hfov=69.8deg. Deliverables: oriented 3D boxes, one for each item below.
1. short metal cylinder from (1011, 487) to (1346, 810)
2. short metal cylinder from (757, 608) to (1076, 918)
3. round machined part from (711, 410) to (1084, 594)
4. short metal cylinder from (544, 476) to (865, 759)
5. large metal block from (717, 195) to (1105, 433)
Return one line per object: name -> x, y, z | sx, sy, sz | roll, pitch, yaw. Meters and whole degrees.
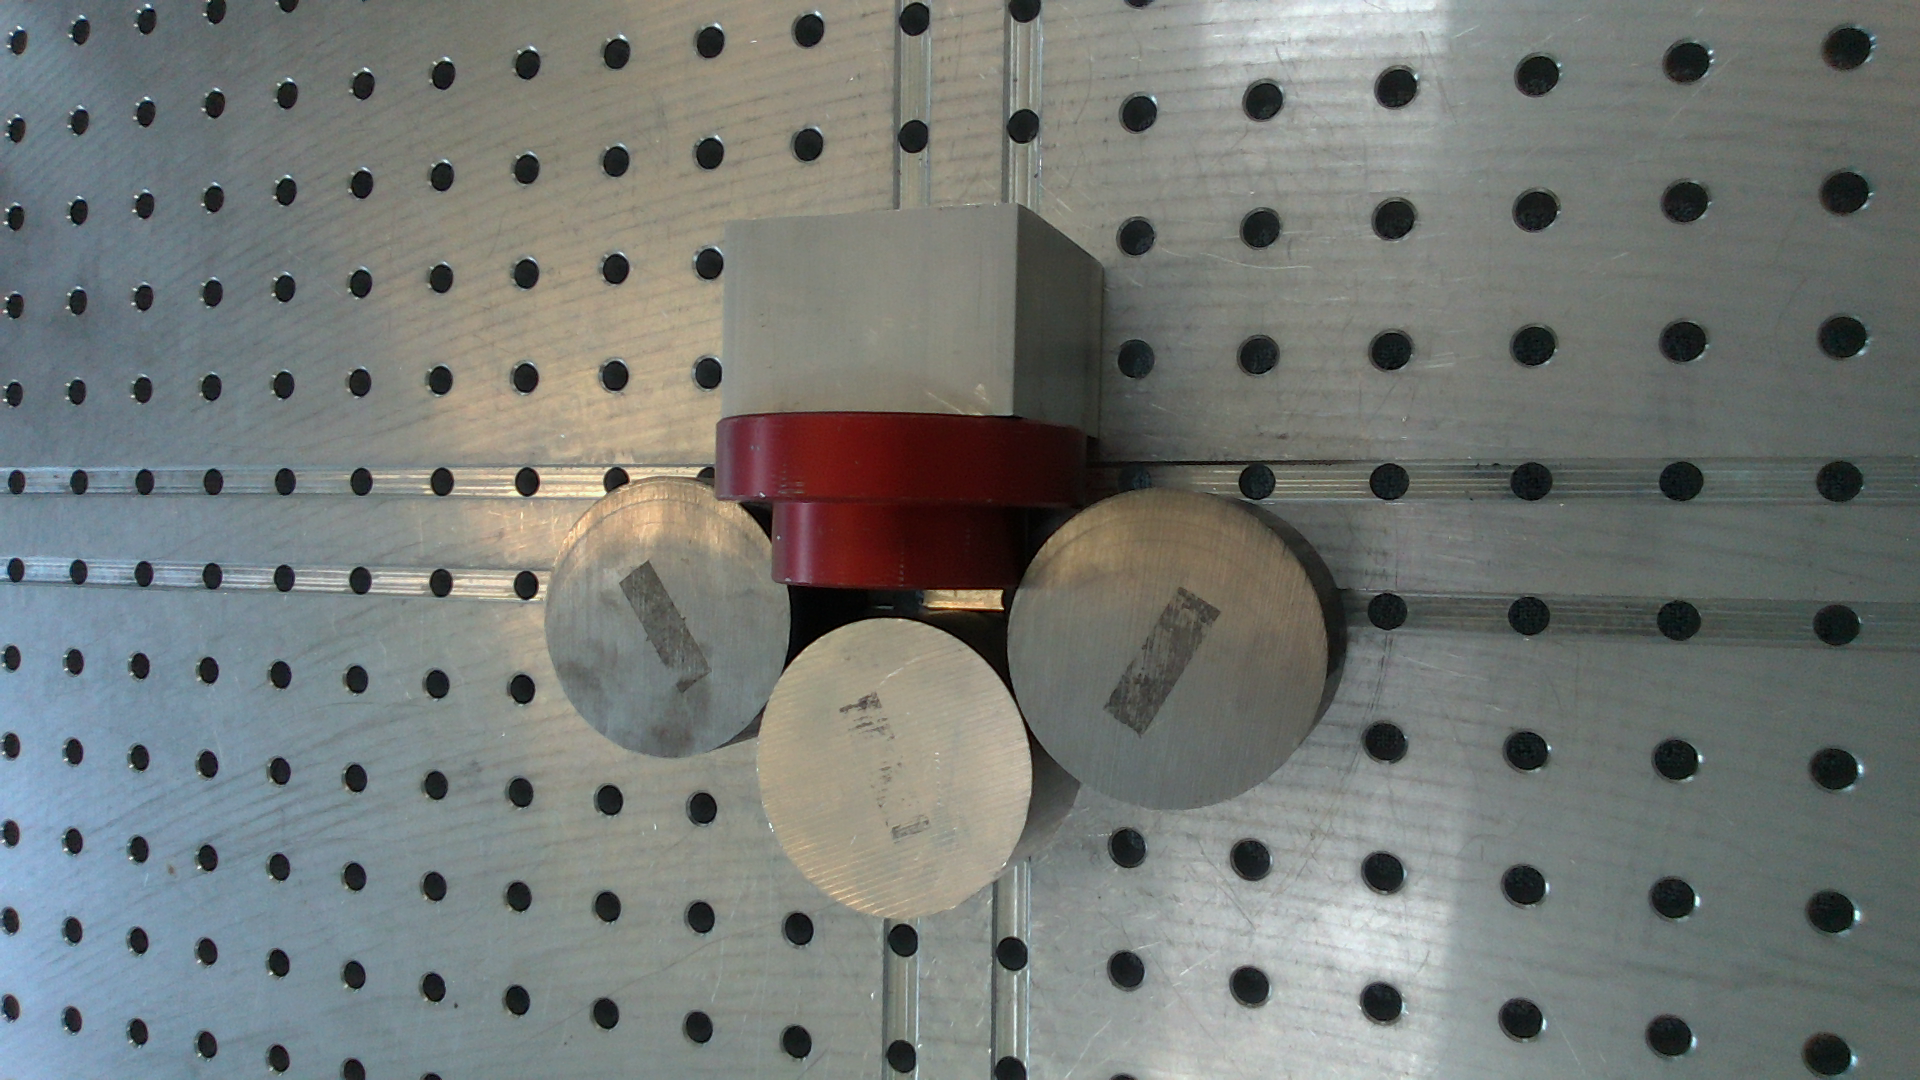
short metal cylinder -> 0.059, 0.027, 0.364 | 0.080, 0.050, 0.080 | 0, 90, 20
short metal cylinder -> -0.010, 0.060, 0.389 | 0.080, 0.050, 0.080 | 0, 90, 20
round machined part -> -0.016, -0.009, 0.363 | 0.098, 0.098, 0.042 | 2, 90, 20
short metal cylinder -> -0.075, 0.022, 0.413 | 0.080, 0.050, 0.080 | 0, 90, 20
large metal block -> -0.010, -0.056, 0.372 | 0.080, 0.080, 0.050 | 1, 90, 20
